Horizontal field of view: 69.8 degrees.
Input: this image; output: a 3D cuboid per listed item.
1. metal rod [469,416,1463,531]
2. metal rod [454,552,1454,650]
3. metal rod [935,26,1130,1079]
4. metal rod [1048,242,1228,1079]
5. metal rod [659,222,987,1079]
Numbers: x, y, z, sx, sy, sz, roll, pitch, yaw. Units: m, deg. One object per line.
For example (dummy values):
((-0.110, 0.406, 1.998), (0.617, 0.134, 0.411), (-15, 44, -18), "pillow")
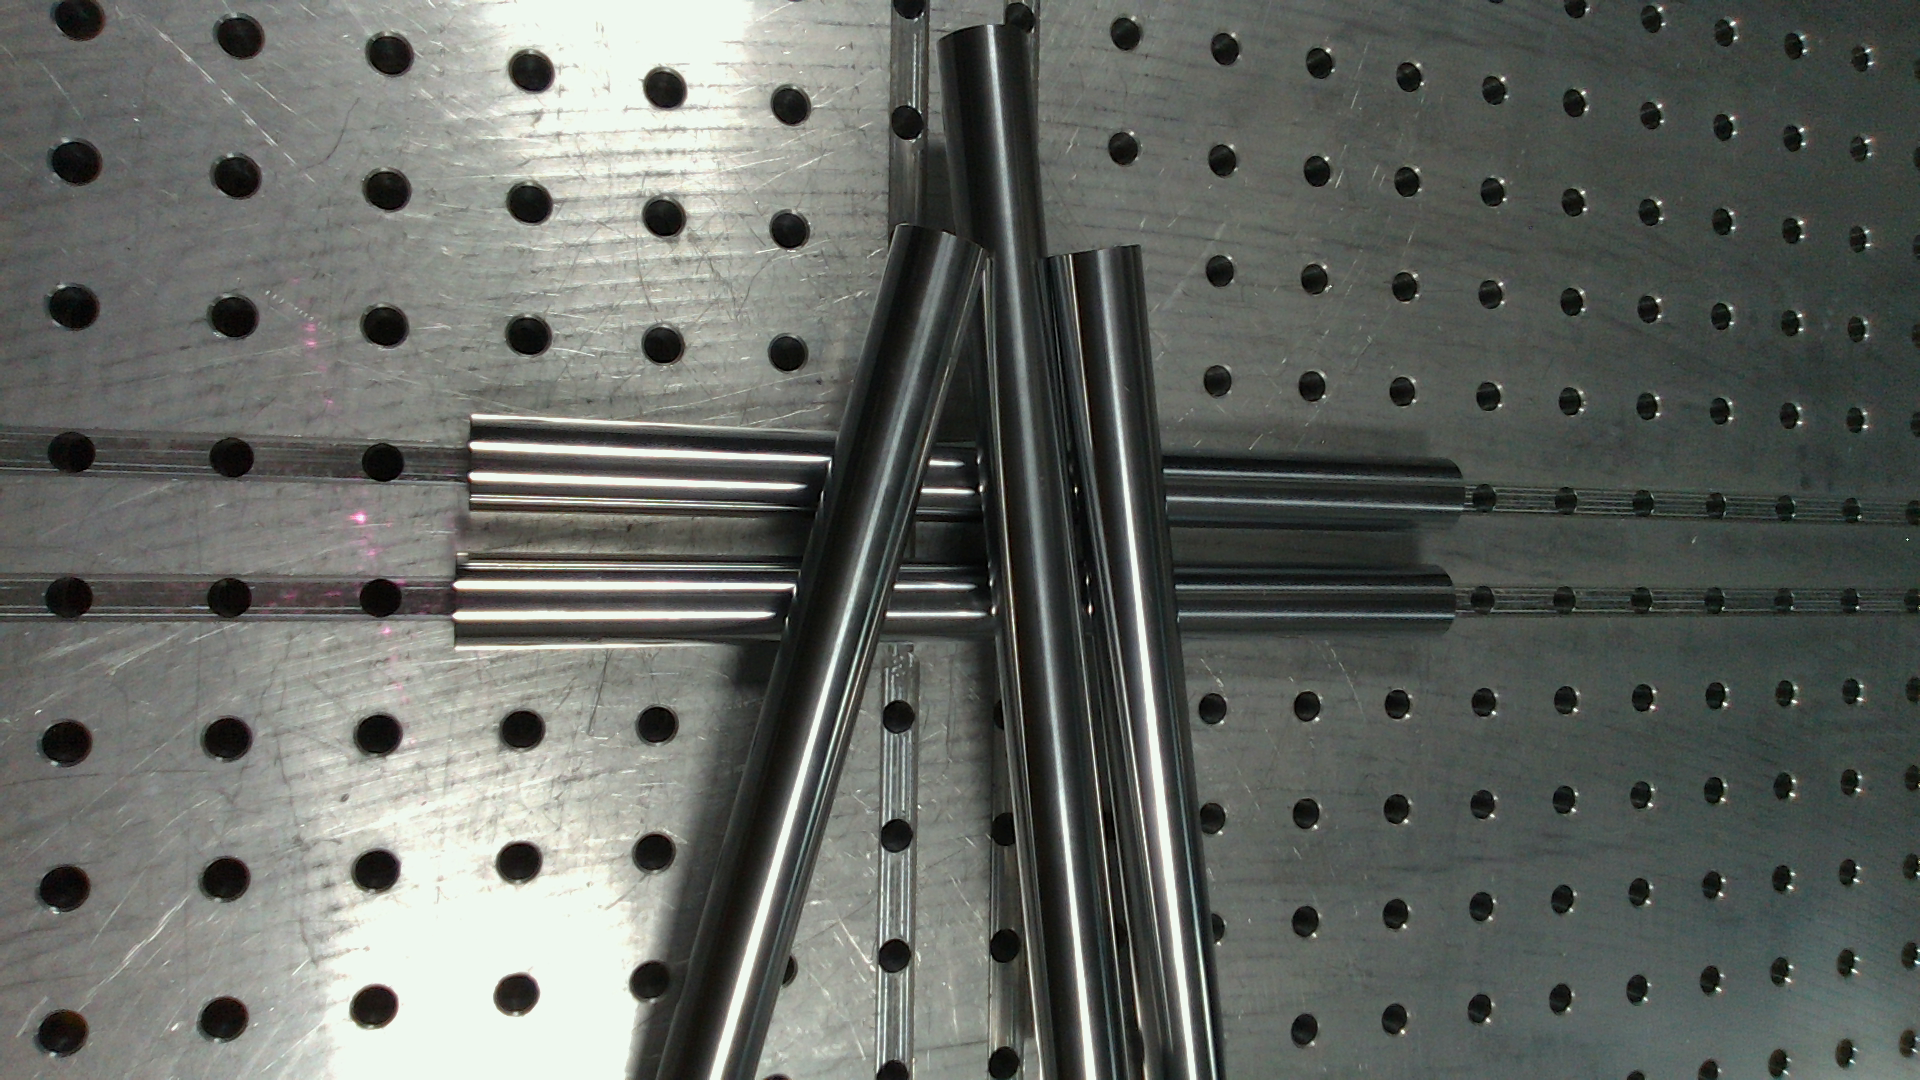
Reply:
((0.016, -0.017, 0.402), (0.301, 0.025, 0.025), (1, 90, -20), "metal rod")
((0.013, 0.017, 0.401), (0.301, 0.025, 0.025), (1, 90, -20), "metal rod")
((0.021, 0.015, 0.377), (0.025, 0.025, 0.300), (-7, 92, -20), "metal rod")
((0.055, 0.068, 0.396), (0.025, 0.025, 0.300), (-11, 101, -19), "metal rod")
((-0.045, 0.066, 0.360), (0.025, 0.025, 0.300), (15, 92, -19), "metal rod")
